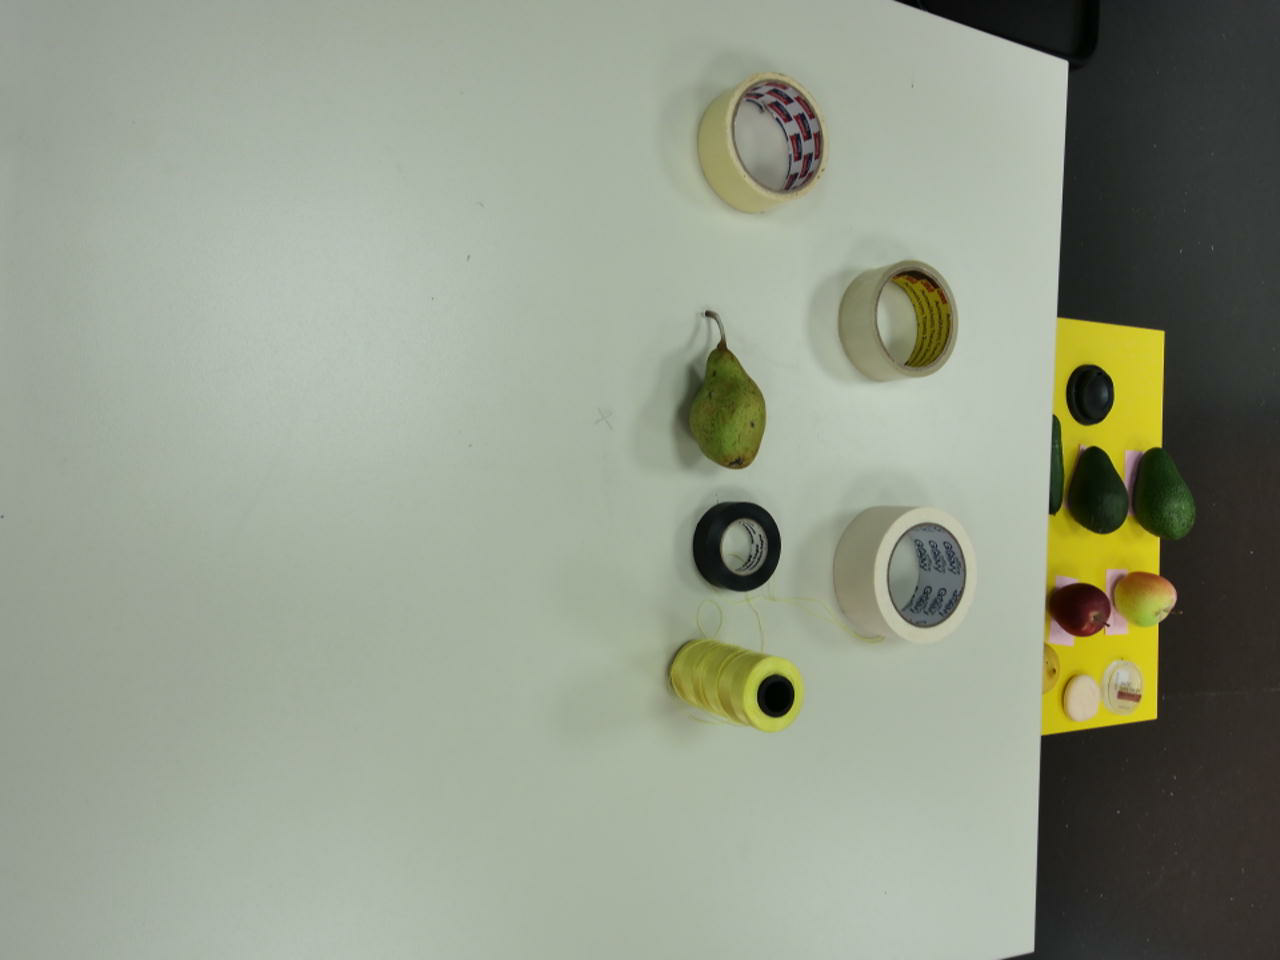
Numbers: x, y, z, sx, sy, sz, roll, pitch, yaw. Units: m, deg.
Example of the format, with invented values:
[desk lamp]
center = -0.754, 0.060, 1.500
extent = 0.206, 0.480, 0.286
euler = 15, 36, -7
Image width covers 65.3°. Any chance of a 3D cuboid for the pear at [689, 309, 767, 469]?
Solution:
[pear]
center = 0.068, -0.063, 0.710
extent = 0.056, 0.056, 0.111
euler = 20, 81, -27
